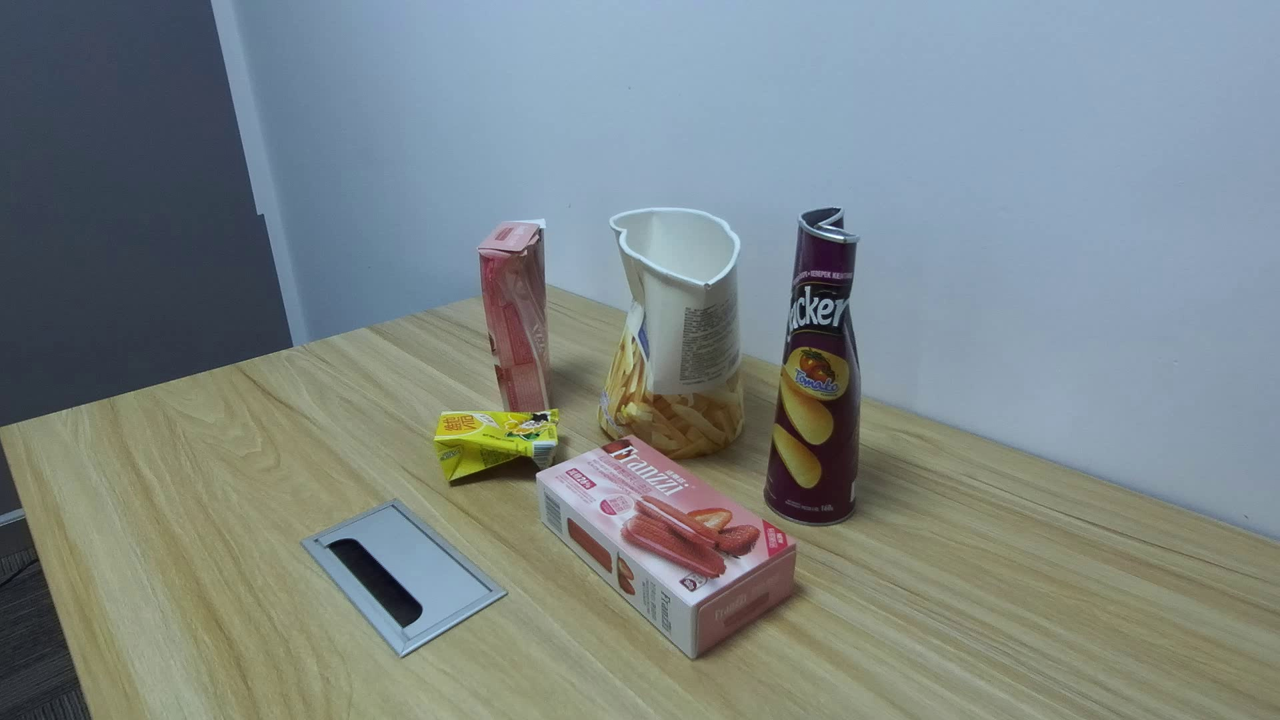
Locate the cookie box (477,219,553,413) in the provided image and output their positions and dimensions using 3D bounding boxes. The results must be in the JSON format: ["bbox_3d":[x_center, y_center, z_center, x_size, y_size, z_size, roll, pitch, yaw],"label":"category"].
[{"bbox_3d":[-0.120,-0.038,0.717,0.055,0.184,0.118,-1,25,-1],"label":"cookie box"}]

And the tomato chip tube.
[{"bbox_3d":[0.141,0.009,0.541,0.078,0.235,0.076,-17,29,-32],"label":"tomato chip tube"}]

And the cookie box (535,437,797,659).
[{"bbox_3d":[0.013,0.126,0.519,0.096,0.048,0.183,-19,31,-34],"label":"cookie box"}]

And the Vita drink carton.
[{"bbox_3d":[-0.126,0.075,0.643,0.108,0.042,0.087,-1,18,-8],"label":"Vita drink carton"}]

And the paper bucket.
[{"bbox_3d":[0.030,-0.027,0.663,0.148,0.199,0.217,-20,29,-34],"label":"paper bucket"}]
